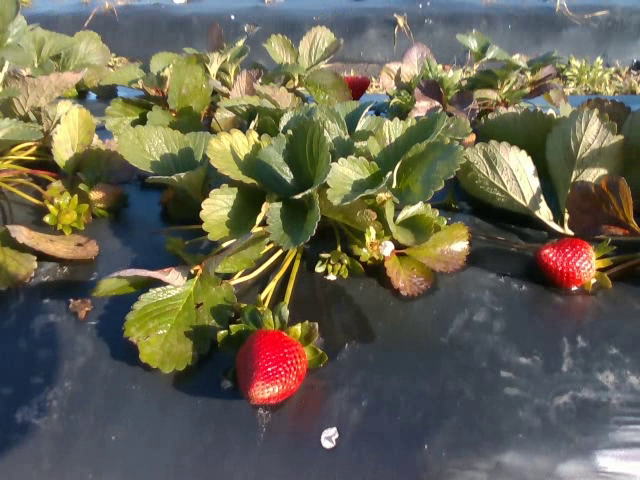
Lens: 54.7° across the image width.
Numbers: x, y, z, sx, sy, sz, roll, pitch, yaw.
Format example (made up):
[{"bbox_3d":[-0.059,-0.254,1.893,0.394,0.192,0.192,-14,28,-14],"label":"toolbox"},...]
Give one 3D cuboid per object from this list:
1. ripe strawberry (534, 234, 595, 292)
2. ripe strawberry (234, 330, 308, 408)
[{"bbox_3d":[0.146,0.011,0.367,0.046,0.035,0.036,11,-43,-7],"label":"ripe strawberry"},{"bbox_3d":[-0.026,0.068,0.310,0.045,0.042,0.055,15,18,2],"label":"ripe strawberry"}]
